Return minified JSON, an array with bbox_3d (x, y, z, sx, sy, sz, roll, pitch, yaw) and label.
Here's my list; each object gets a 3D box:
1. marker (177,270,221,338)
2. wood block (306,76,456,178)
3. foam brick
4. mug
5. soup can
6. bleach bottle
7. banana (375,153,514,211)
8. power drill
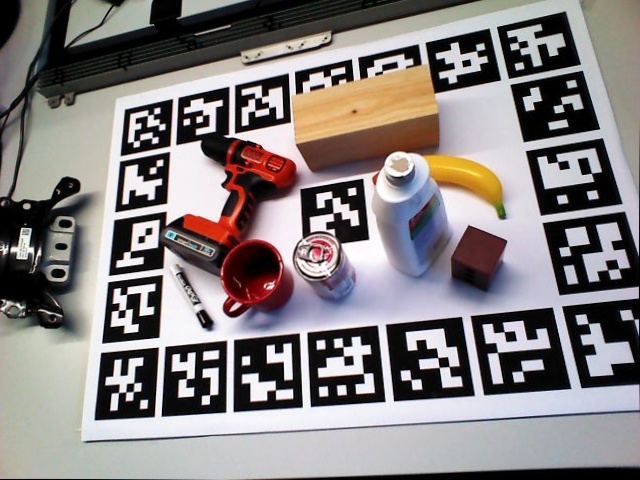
[{"bbox_3d":[-0.184,0.097,0.788,0.020,0.019,0.121,-36,65,2],"label":"marker"},{"bbox_3d":[0.092,-0.168,0.775,0.207,0.091,0.089,-9,68,12],"label":"wood block"},{"bbox_3d":[0.225,0.038,0.665,0.053,0.078,0.051,26,76,25],"label":"foam brick"},{"bbox_3d":[-0.080,0.067,0.733,0.093,0.081,0.117,37,85,22],"label":"mug"},{"bbox_3d":[0.021,0.043,0.698,0.068,0.102,0.067,-6,64,11],"label":"soup can"},{"bbox_3d":[0.125,-0.026,0.620,0.068,0.251,0.102,22,75,22],"label":"bleach bottle"},{"bbox_3d":[0.179,-0.089,0.744,0.198,0.039,0.074,8,85,16],"label":"banana"},{"bbox_3d":[-0.128,-0.055,0.814,0.185,0.057,0.186,22,75,19],"label":"power drill"}]
